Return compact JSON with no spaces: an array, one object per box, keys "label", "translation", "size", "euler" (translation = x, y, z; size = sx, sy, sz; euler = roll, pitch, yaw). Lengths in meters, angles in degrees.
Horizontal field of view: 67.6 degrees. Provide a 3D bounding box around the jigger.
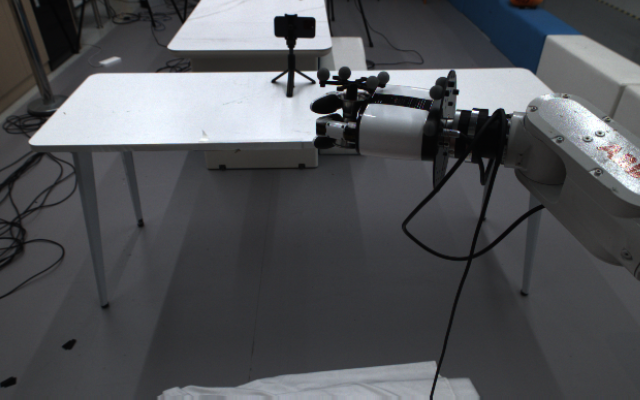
[{"label":"jigger","translation":[0.045,-0.111,0.677],"size":[0.043,0.071,0.043],"euler":[3,25,-1]}]
